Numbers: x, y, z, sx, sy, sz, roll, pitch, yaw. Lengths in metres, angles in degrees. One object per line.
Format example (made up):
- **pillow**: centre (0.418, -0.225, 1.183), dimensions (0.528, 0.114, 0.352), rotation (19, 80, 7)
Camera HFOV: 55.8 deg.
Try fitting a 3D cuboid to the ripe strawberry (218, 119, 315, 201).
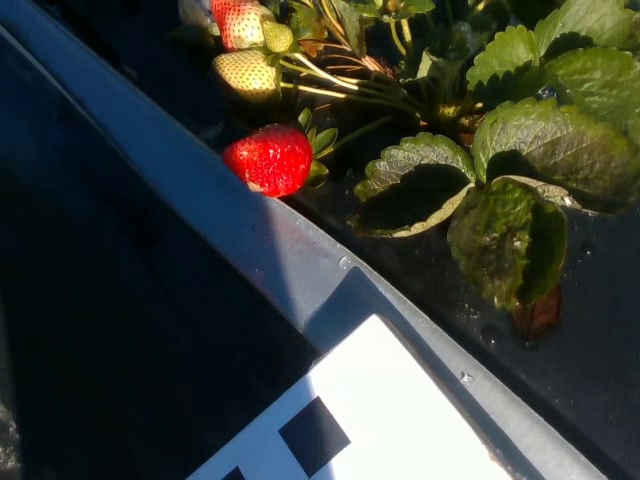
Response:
- **ripe strawberry**: centre (-0.024, -0.033, 0.238), dimensions (0.036, 0.038, 0.045), rotation (47, 22, 28)
